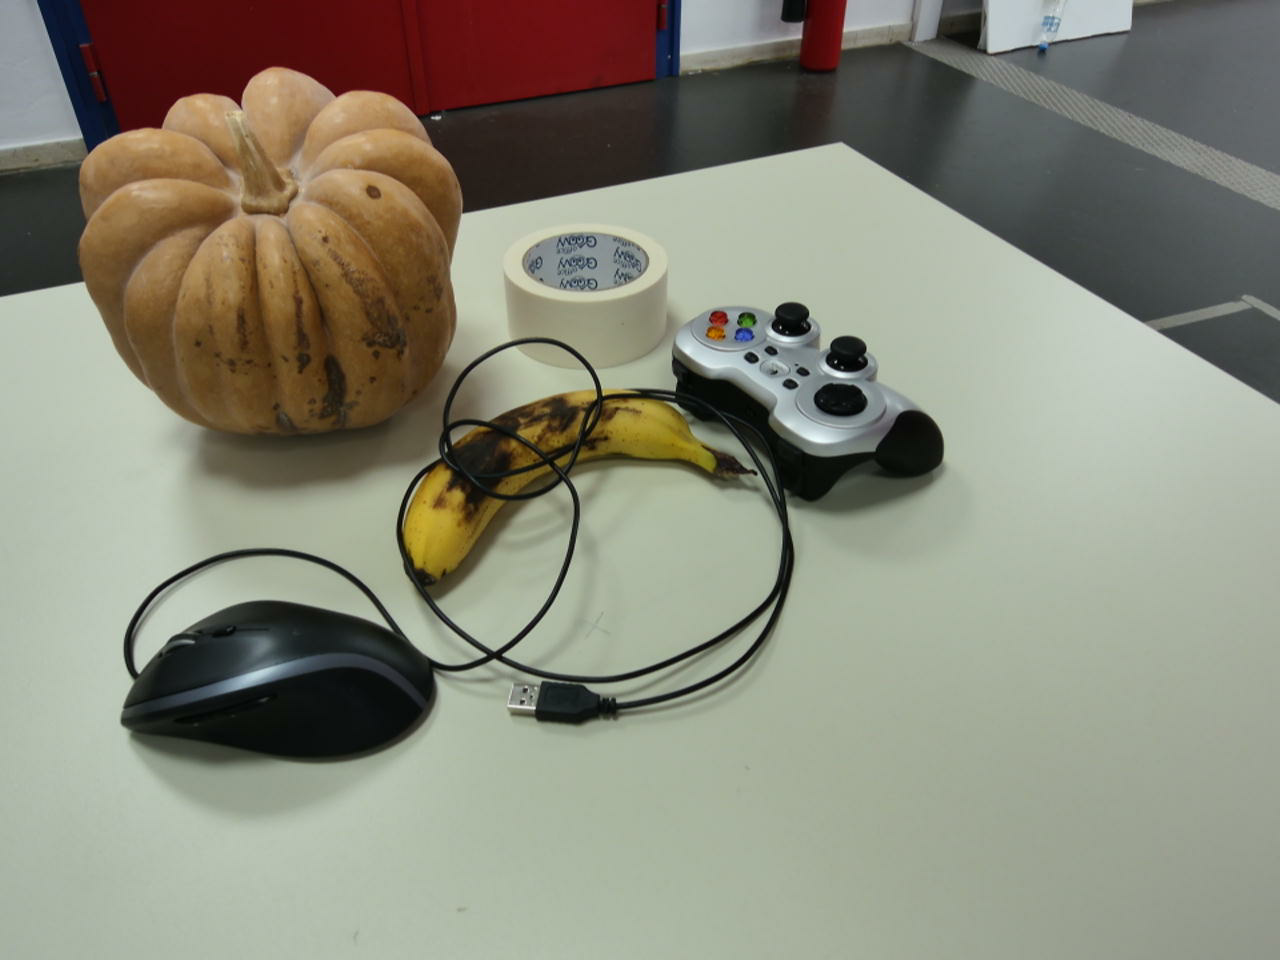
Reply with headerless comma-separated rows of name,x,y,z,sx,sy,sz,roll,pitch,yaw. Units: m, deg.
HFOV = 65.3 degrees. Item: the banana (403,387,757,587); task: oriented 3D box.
banana,-0.044,-0.008,0.526,0.187,0.039,0.094,-17,42,-22
